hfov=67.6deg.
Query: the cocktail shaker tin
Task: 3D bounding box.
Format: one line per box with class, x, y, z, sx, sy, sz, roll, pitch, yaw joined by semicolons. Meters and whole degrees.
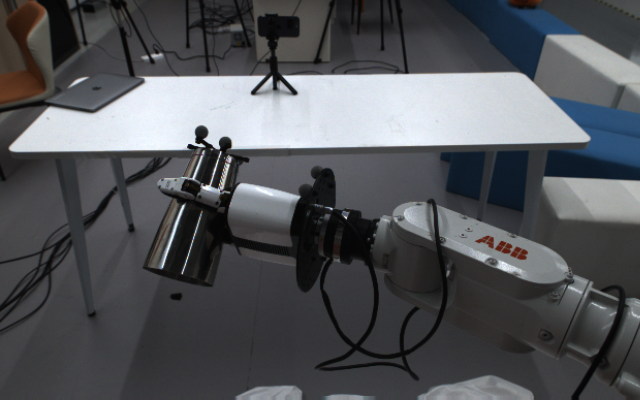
cocktail shaker tin;-0.162;0.021;0.642;0.093;0.093;0.170;10;71;11
